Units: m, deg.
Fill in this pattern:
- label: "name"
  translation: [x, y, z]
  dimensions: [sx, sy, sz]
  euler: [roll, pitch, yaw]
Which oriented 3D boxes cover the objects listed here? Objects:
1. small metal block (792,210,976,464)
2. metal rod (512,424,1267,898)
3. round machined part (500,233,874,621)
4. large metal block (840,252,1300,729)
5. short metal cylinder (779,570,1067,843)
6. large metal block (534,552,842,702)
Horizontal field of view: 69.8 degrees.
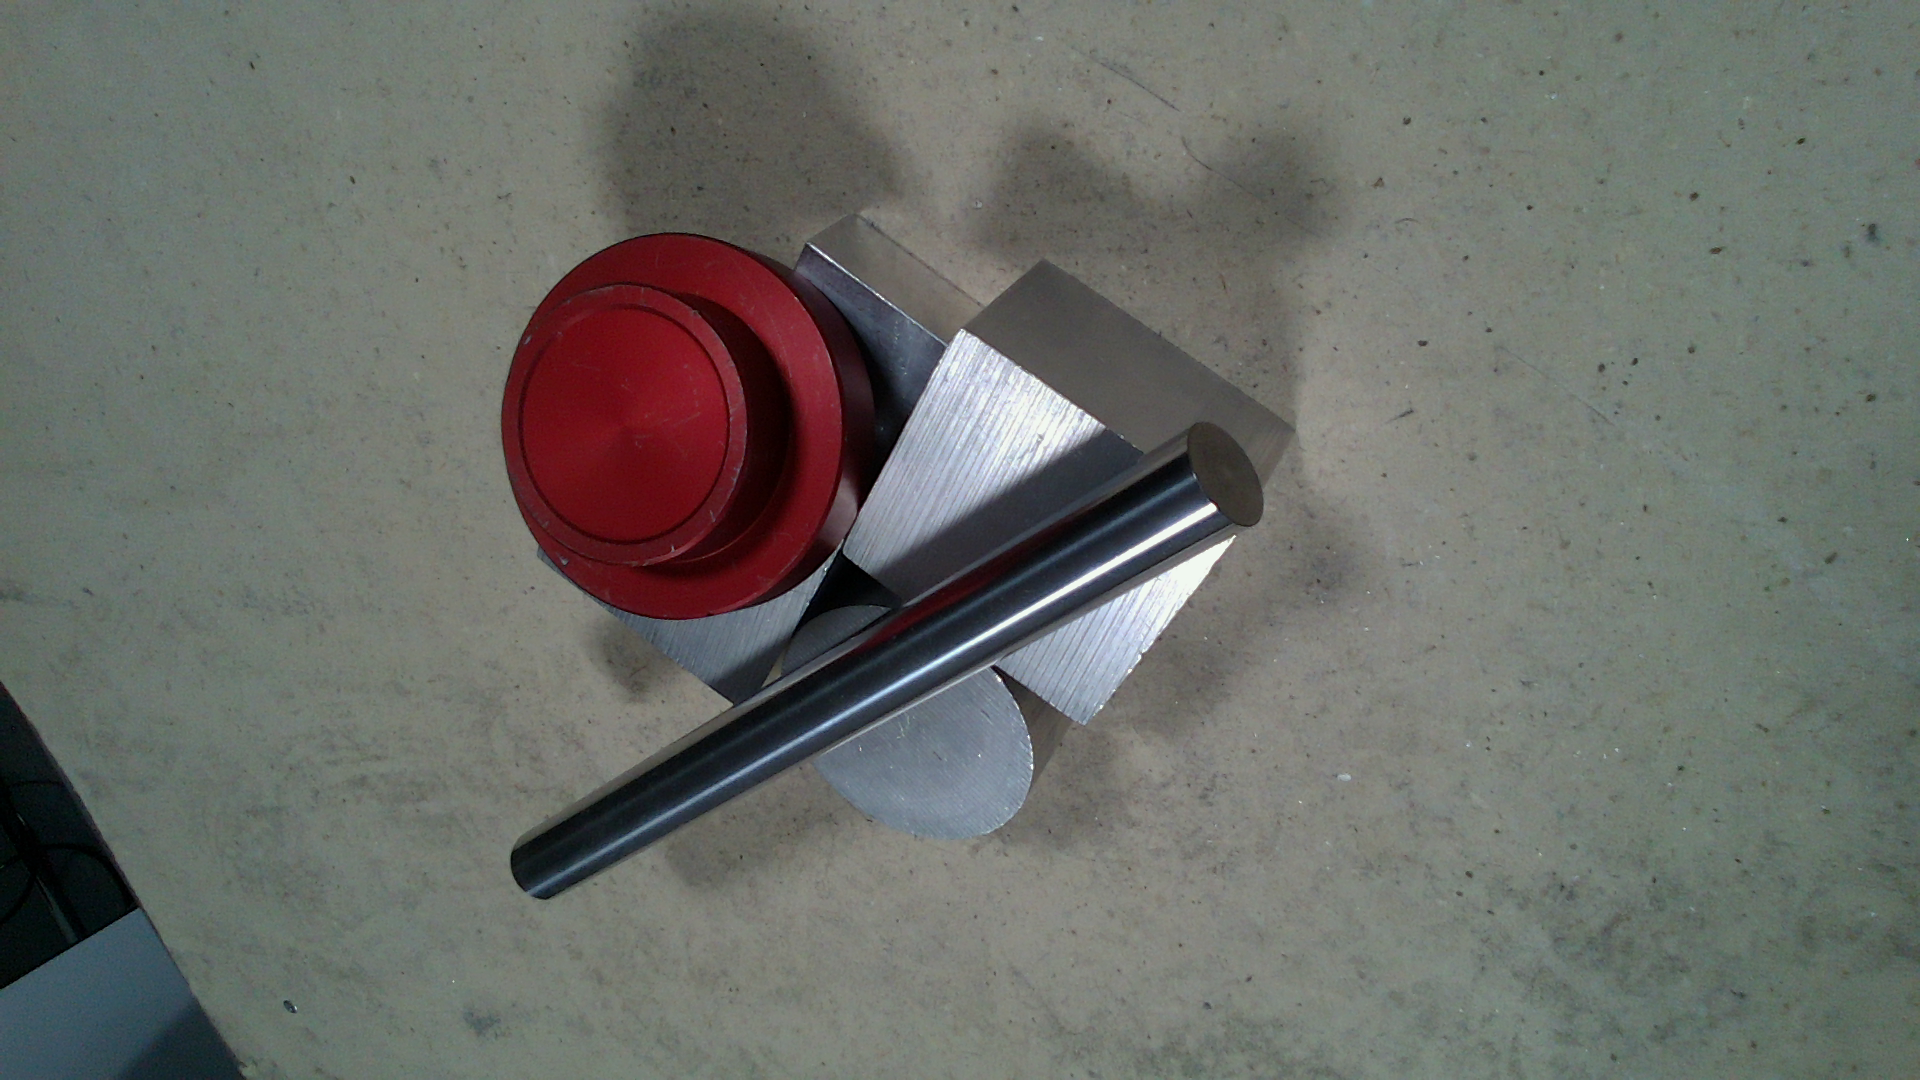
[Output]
- label: "small metal block"
  translation: [-0.025, -0.052, 0.374]
  dimensions: [0.050, 0.025, 0.050]
  euler: [37, 129, 4]
- label: "metal rod"
  translation: [-0.043, 0.049, 0.381]
  dimensions: [0.299, 0.025, 0.025]
  euler: [-32, 101, 38]
- label: "round machined part"
  translation: [-0.075, -0.028, 0.347]
  dimensions: [0.098, 0.042, 0.098]
  euler: [1, 93, 17]
- label: "large metal block"
  translation: [0.026, -0.012, 0.355]
  dimensions: [0.080, 0.050, 0.080]
  euler: [35, 129, 5]
- label: "short metal cylinder"
  translation: [-0.006, 0.041, 0.405]
  dimensions: [0.080, 0.050, 0.080]
  euler: [13, 124, 21]
- label: "large metal block"
  translation: [-0.069, -0.010, 0.406]
  dimensions: [0.080, 0.050, 0.080]
  euler: [36, 129, 4]
